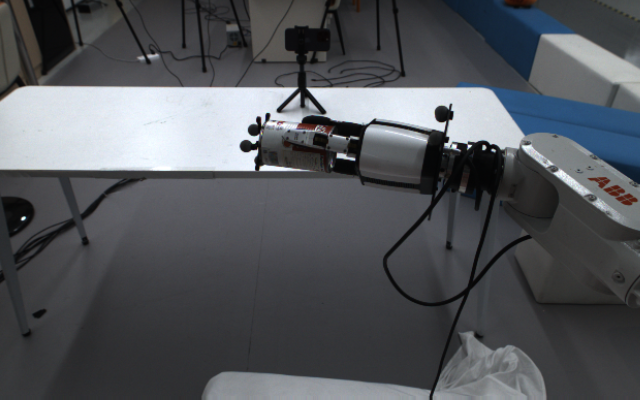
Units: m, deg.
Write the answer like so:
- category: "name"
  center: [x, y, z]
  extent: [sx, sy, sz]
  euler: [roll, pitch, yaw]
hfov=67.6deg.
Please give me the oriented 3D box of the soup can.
- category: "soup can"
  center: [-0.029, -0.078, 0.698]
  extent: [0.101, 0.067, 0.067]
  euler: [7, 35, 11]
